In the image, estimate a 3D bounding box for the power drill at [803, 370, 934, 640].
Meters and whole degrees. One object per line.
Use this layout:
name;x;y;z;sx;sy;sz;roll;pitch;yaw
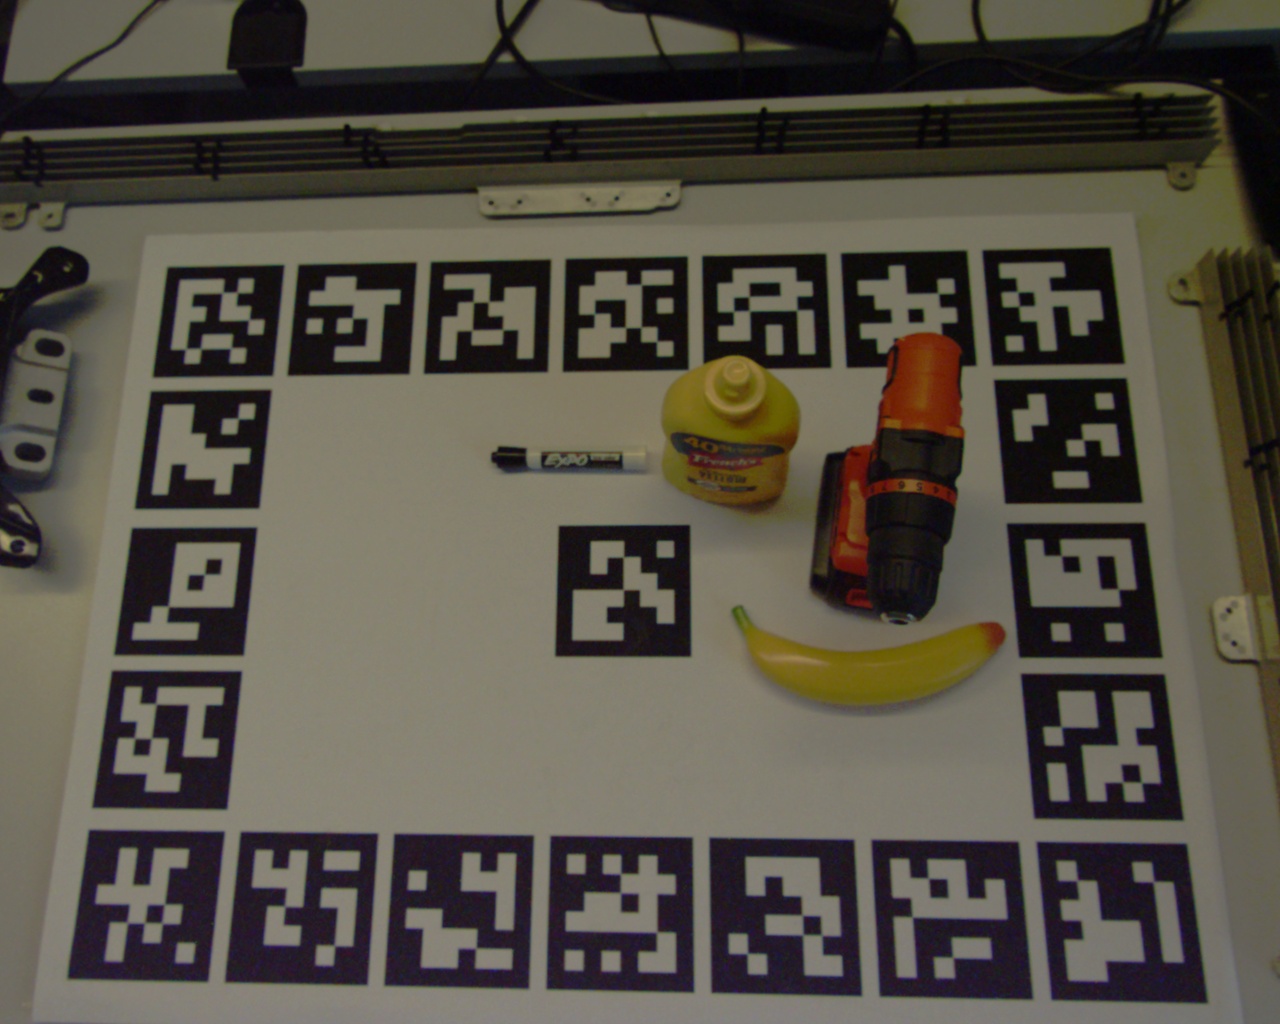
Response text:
power drill;0.158;0.013;0.806;0.057;0.186;0.184;13;74;4

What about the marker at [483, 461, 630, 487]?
marker;-0.069;-0.031;0.939;0.121;0.019;0.020;2;76;4

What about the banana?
banana;0.151;0.122;0.876;0.198;0.038;0.074;7;77;7

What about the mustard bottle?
mustard bottle;0.054;-0.045;0.845;0.096;0.191;0.058;11;76;4
